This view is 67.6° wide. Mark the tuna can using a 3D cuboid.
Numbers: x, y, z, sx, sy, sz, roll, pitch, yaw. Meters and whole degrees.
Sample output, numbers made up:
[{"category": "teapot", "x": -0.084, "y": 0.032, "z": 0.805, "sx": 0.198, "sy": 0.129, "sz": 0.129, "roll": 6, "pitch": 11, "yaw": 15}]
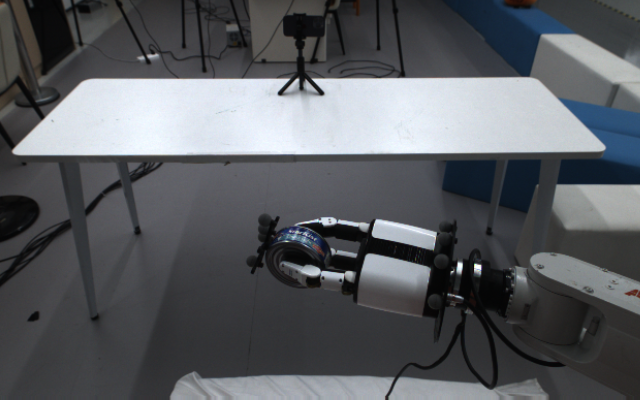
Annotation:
[{"category": "tuna can", "x": -0.027, "y": 0.082, "z": 0.650, "sx": 0.085, "sy": 0.085, "sz": 0.034, "roll": 9, "pitch": 35, "yaw": 10}]
